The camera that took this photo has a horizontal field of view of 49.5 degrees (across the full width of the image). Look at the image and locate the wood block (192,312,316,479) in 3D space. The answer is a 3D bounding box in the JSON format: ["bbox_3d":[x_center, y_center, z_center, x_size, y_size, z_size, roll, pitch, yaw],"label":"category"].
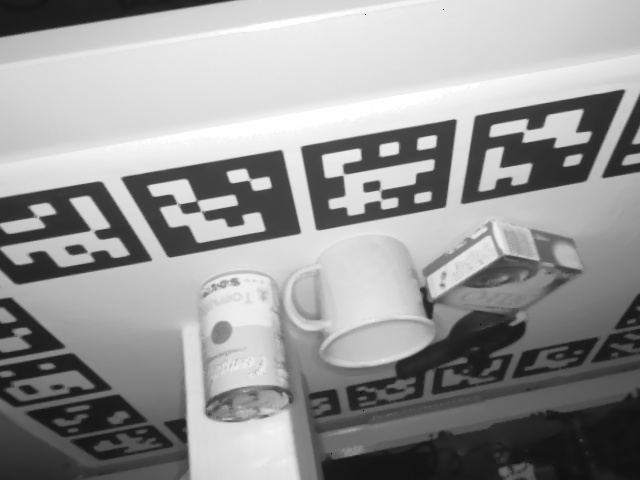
[{"bbox_3d":[-0.055,0.170,0.591,0.090,0.207,0.090,-8,145,2],"label":"wood block"}]

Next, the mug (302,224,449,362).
[{"bbox_3d":[0.038,0.039,0.547,0.119,0.082,0.091,13,140,-32],"label":"mug"}]

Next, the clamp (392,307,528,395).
[{"bbox_3d":[0.166,0.115,0.740,0.123,0.037,0.162,15,137,-21],"label":"clamp"}]

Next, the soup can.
[{"bbox_3d":[-0.051,0.074,0.550,0.068,0.102,0.067,-8,142,-5],"label":"soup can"}]

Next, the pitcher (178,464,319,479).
[{"bbox_3d":[-0.069,0.256,0.678,0.189,0.243,0.132,-12,147,-4],"label":"pitcher"}]

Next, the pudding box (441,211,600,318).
[{"bbox_3d":[0.177,0.024,0.609,0.115,0.039,0.088,15,134,-33],"label":"pudding box"}]
